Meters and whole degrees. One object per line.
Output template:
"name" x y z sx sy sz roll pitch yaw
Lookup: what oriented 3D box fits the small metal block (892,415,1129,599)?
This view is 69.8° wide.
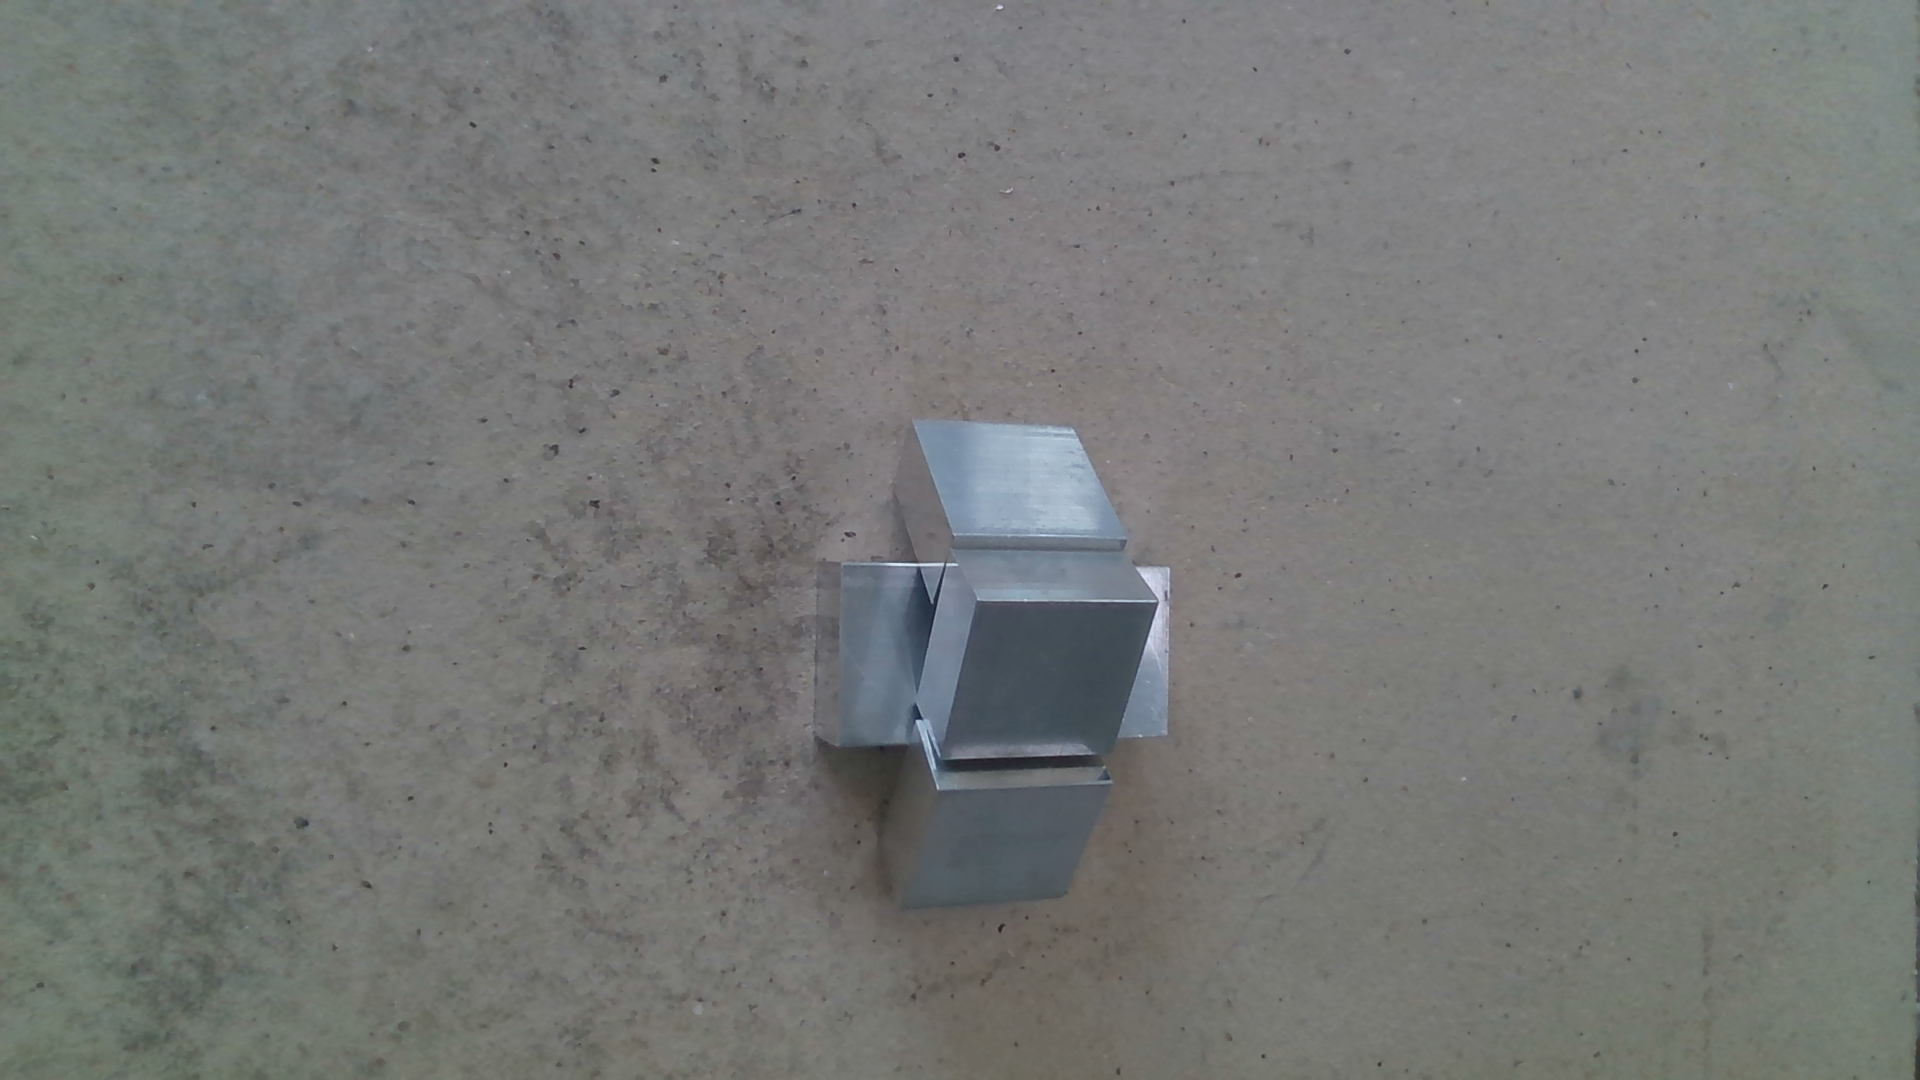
"small metal block" 0.013 -0.009 0.384 0.050 0.050 0.025 1 132 -20

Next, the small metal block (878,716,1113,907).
"small metal block" 0.009 0.075 0.384 0.050 0.025 0.050 1 129 -20

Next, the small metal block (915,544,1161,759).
"small metal block" 0.019 0.029 0.363 0.050 0.025 0.050 1 120 -20

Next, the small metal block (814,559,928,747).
"small metal block" -0.014 0.031 0.389 0.050 0.025 0.050 1 90 -20

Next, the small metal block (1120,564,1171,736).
"small metal block" 0.034 0.032 0.406 0.050 0.025 0.050 1 90 -20
